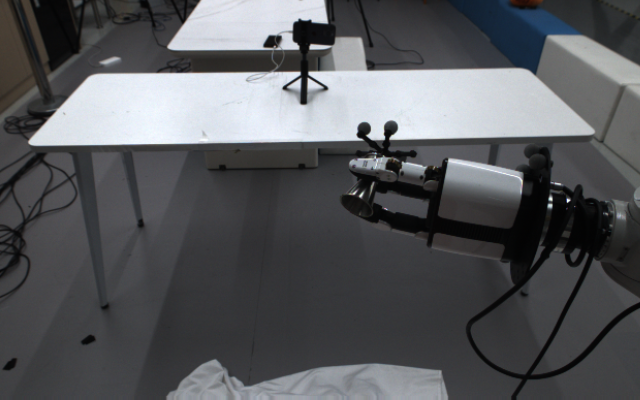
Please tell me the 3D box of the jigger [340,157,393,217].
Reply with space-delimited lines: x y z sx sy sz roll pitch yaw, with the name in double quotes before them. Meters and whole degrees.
"jigger" 0.057 -0.023 0.585 0.043 0.043 0.071 20 62 24
